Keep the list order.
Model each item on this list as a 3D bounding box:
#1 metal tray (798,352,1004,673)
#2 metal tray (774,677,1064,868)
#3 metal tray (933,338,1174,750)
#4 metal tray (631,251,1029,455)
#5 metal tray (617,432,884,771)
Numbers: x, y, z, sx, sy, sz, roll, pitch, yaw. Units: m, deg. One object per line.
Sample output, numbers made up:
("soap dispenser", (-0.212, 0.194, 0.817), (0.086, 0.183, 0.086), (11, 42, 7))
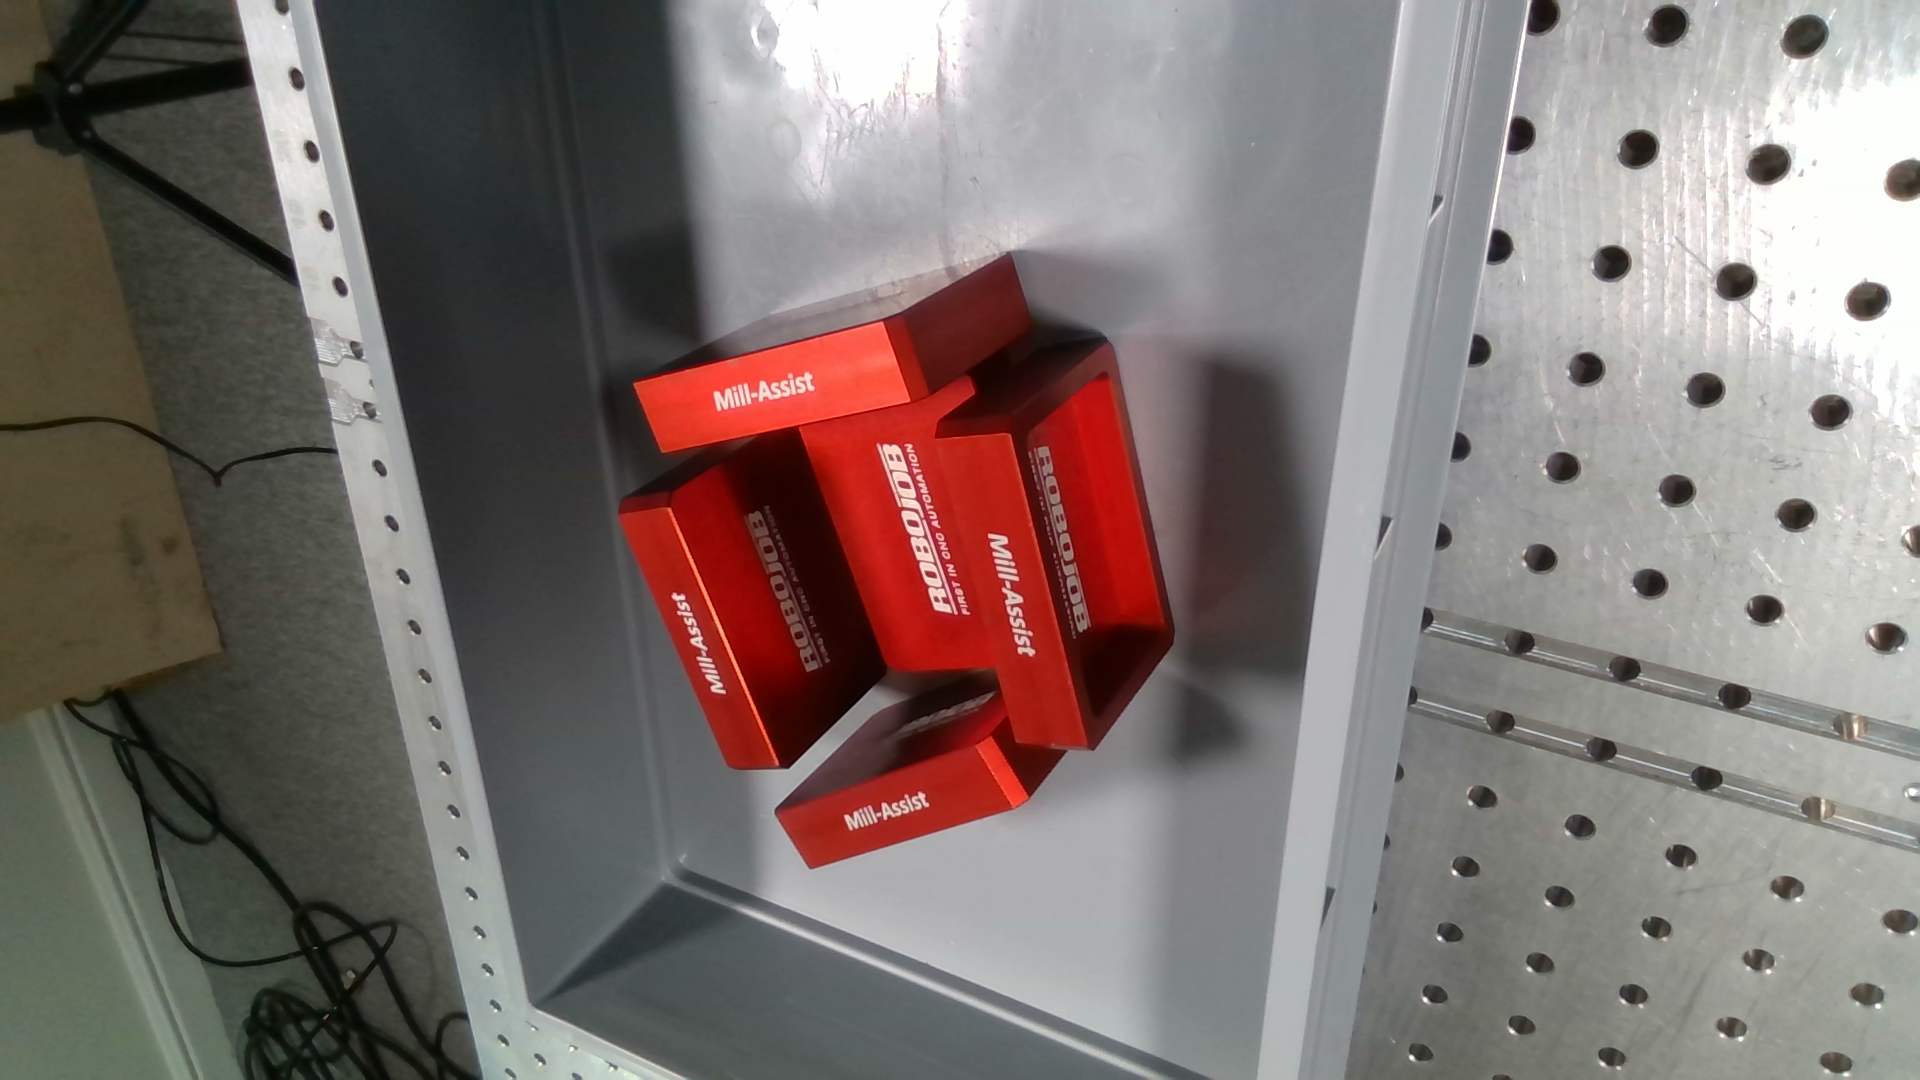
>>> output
("metal tray", (-0.008, -0.010, 0.573), (0.090, 0.030, 0.130), (-6, 112, 34))
("metal tray", (-0.008, 0.092, 0.592), (0.130, 0.090, 0.030), (-25, 99, 38))
("metal tray", (0.039, 0.001, 0.512), (0.030, 0.090, 0.130), (-2, 114, 32))
("metal tray", (-0.049, -0.071, 0.527), (0.130, 0.090, 0.030), (-8, 111, 34))
("metal tray", (-0.087, 0.024, 0.602), (0.030, 0.090, 0.130), (-7, 111, 34))
